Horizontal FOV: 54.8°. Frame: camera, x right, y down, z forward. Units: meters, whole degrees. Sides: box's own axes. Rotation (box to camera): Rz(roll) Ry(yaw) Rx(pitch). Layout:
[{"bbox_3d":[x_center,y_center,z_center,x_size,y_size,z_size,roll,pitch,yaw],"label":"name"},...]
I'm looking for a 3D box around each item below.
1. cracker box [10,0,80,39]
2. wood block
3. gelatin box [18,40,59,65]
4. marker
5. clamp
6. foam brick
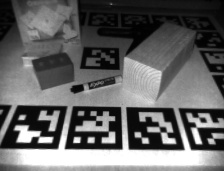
[{"bbox_3d":[-0.172,-0.227,0.559,0.164,0.214,0.071,-1,45,-5],"label":"cracker box"},{"bbox_3d":[0.104,-0.068,0.518,0.089,0.091,0.207,26,48,25],"label":"wood block"},{"bbox_3d":[-0.188,-0.086,0.562,0.089,0.030,0.073,0,48,-2],"label":"gelatin box"},{"bbox_3d":[-0.059,-0.002,0.490,0.122,0.020,0.019,-14,50,-15],"label":"marker"},{"bbox_3d":[0.067,-0.161,0.637,0.204,0.037,0.163,-23,52,-22],"label":"clamp"},{"bbox_3d":[-0.148,-0.036,0.497,0.078,0.051,0.052,-18,51,-18],"label":"foam brick"}]
